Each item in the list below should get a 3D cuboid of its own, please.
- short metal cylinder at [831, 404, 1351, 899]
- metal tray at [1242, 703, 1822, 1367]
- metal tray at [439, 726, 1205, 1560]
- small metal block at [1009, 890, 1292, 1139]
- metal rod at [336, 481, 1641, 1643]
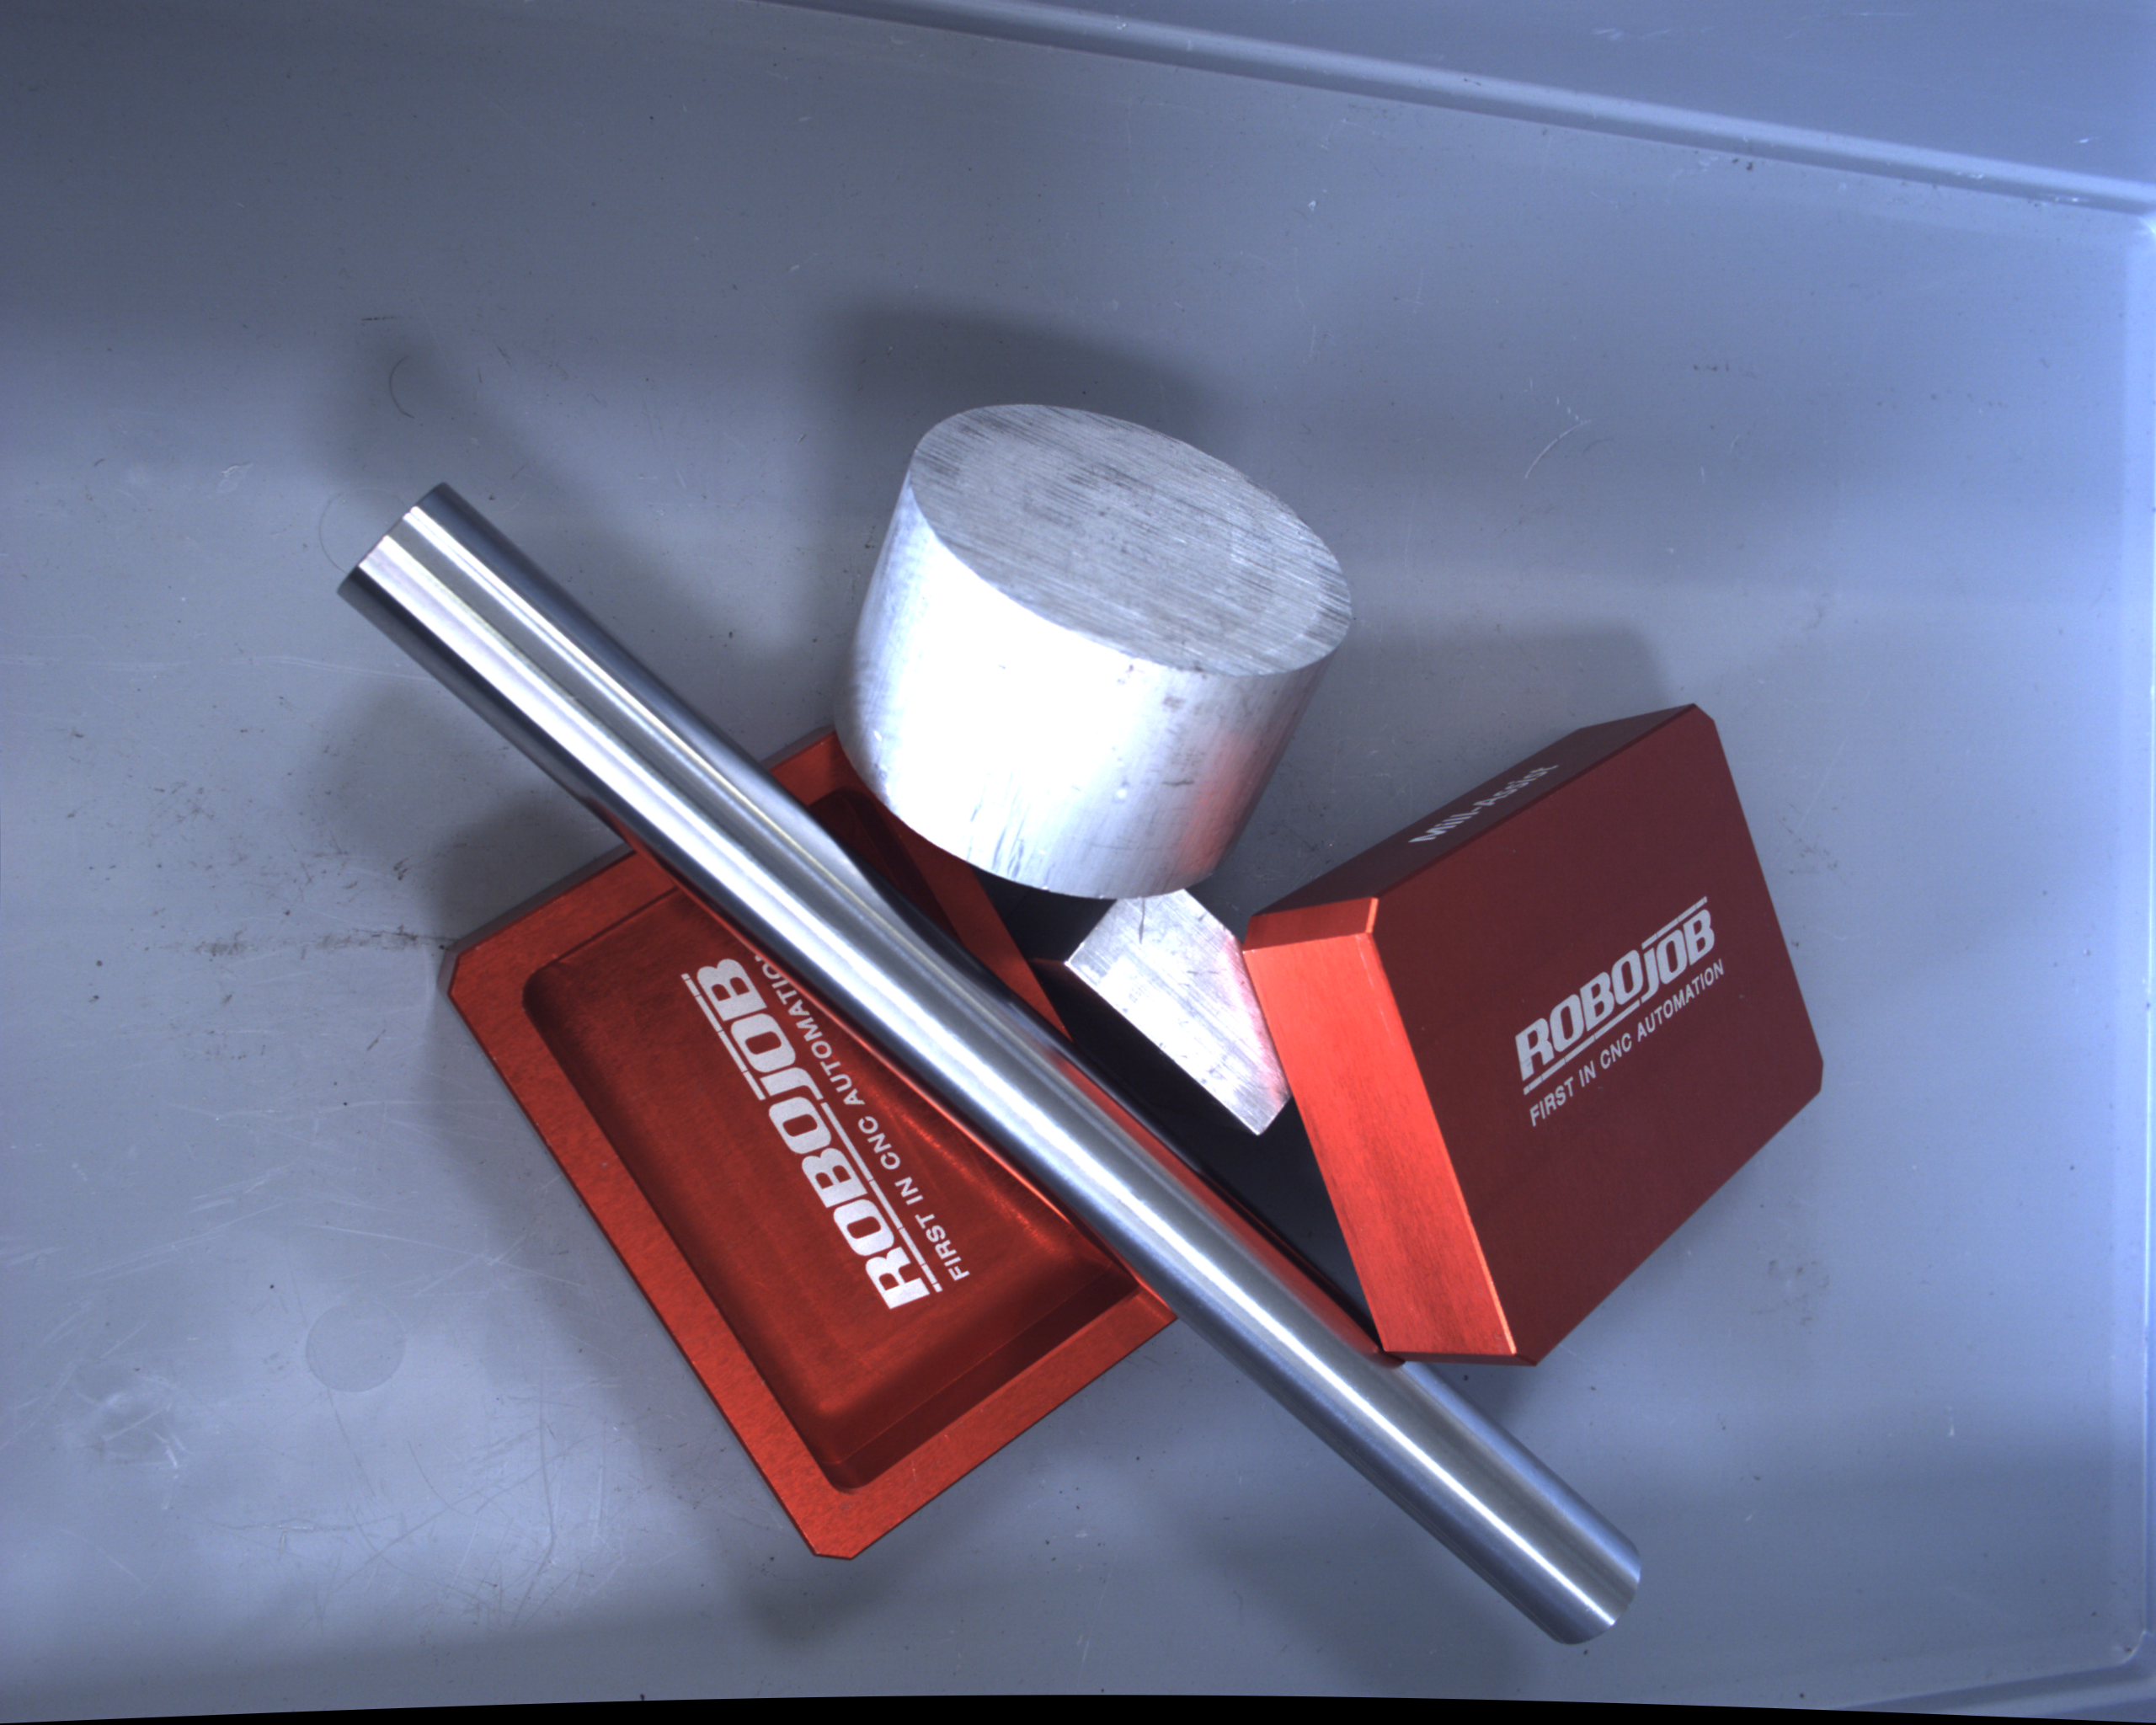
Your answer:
[{"bbox_3d":[0.002,-0.039,0.374,0.081,0.080,0.050,9,129,-20],"label":"short metal cylinder"},{"bbox_3d":[0.096,0.030,0.414,0.131,0.030,0.090,-27,100,-43],"label":"metal tray"},{"bbox_3d":[-0.046,0.050,0.389,0.090,0.030,0.130,-33,101,-17],"label":"metal tray"},{"bbox_3d":[0.015,0.025,0.400,0.050,0.050,0.025,42,77,-15],"label":"small metal block"},{"bbox_3d":[-0.004,0.046,0.375,0.300,0.025,0.025,43,77,-16],"label":"metal rod"}]
